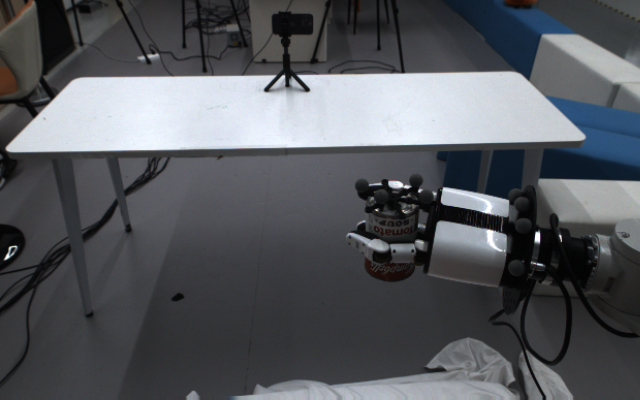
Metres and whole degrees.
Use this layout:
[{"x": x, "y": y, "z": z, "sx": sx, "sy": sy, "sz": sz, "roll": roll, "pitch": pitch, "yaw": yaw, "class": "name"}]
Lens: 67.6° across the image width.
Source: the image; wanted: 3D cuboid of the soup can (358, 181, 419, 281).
[{"x": 0.093, "y": 0.044, "z": 0.621, "sx": 0.067, "sy": 0.101, "sz": 0.067, "roll": -2, "pitch": 33, "yaw": 1, "class": "soup can"}]
